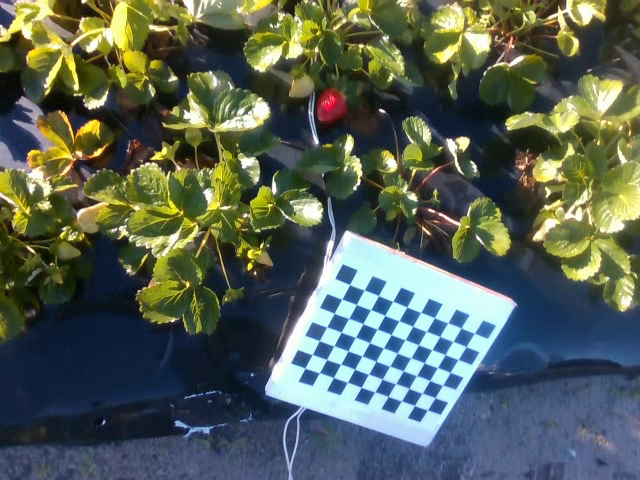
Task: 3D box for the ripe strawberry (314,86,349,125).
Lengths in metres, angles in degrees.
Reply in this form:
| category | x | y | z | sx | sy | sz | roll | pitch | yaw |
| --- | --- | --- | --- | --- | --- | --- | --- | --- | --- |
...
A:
| category | x | y | z | sx | sy | sz | roll | pitch | yaw |
| --- | --- | --- | --- | --- | --- | --- | --- | --- | --- |
| ripe strawberry | 0.021 | -0.219 | 1.039 | 0.040 | 0.062 | 0.080 | -9 | 37 | 47 |
